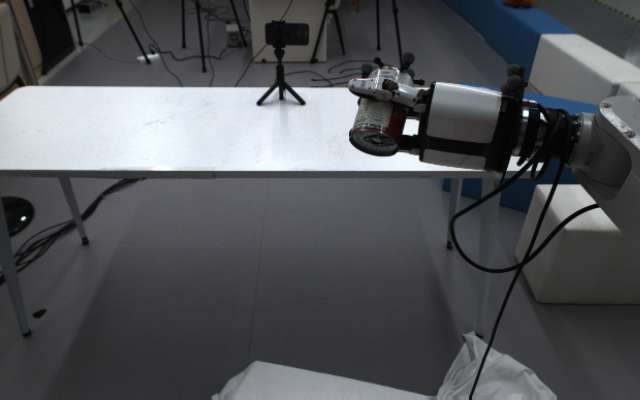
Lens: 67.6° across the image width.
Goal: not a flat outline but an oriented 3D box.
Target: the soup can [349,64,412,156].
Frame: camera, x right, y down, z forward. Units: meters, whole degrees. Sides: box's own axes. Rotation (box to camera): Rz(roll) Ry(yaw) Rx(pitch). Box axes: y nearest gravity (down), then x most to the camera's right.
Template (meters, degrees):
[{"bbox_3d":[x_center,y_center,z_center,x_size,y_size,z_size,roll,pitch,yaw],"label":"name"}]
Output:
[{"bbox_3d":[0.084,-0.122,0.657,0.067,0.067,0.101,12,71,14],"label":"soup can"}]
